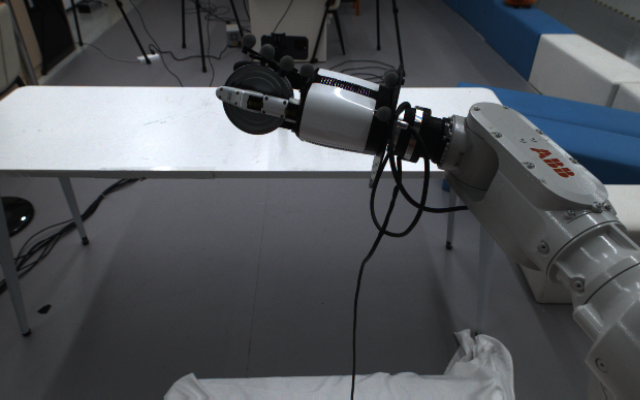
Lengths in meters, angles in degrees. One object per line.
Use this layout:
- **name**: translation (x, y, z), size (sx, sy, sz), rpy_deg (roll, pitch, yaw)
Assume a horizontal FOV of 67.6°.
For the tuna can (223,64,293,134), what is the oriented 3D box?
- **tuna can**: translation (-0.076, -0.128, 0.610), size (0.085, 0.085, 0.034), rpy_deg (7, 17, 7)
